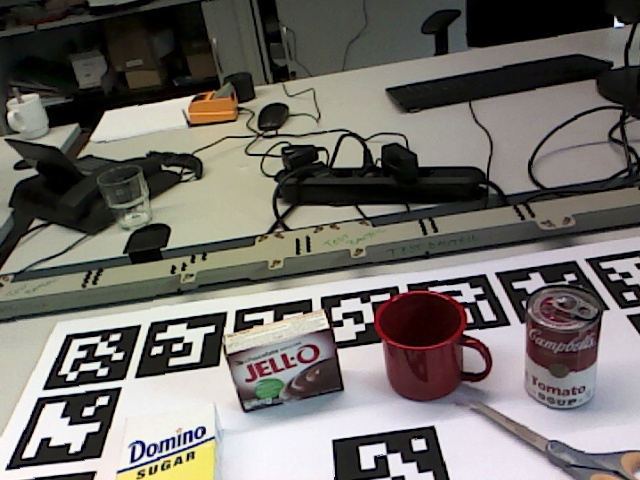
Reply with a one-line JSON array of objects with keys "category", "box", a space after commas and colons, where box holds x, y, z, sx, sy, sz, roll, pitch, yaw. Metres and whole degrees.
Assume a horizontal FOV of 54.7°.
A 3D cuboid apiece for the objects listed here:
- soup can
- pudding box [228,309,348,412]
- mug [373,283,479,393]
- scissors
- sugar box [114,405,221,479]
[{"category": "soup can", "box": [0.231, 0.112, 0.602, 0.068, 0.101, 0.068, -8, 32, 5]}, {"category": "pudding box", "box": [-0.033, 0.126, 0.647, 0.114, 0.089, 0.039, -14, 40, -5]}, {"category": "mug", "box": [0.116, 0.110, 0.643, 0.093, 0.081, 0.118, -32, 37, -25]}, {"category": "scissors", "box": [0.218, 0.196, 0.541, 0.204, 0.016, 0.087, 25, 57, 40]}, {"category": "sugar box", "box": [-0.141, 0.239, 0.564, 0.093, 0.045, 0.177, -12, 35, 2]}]
